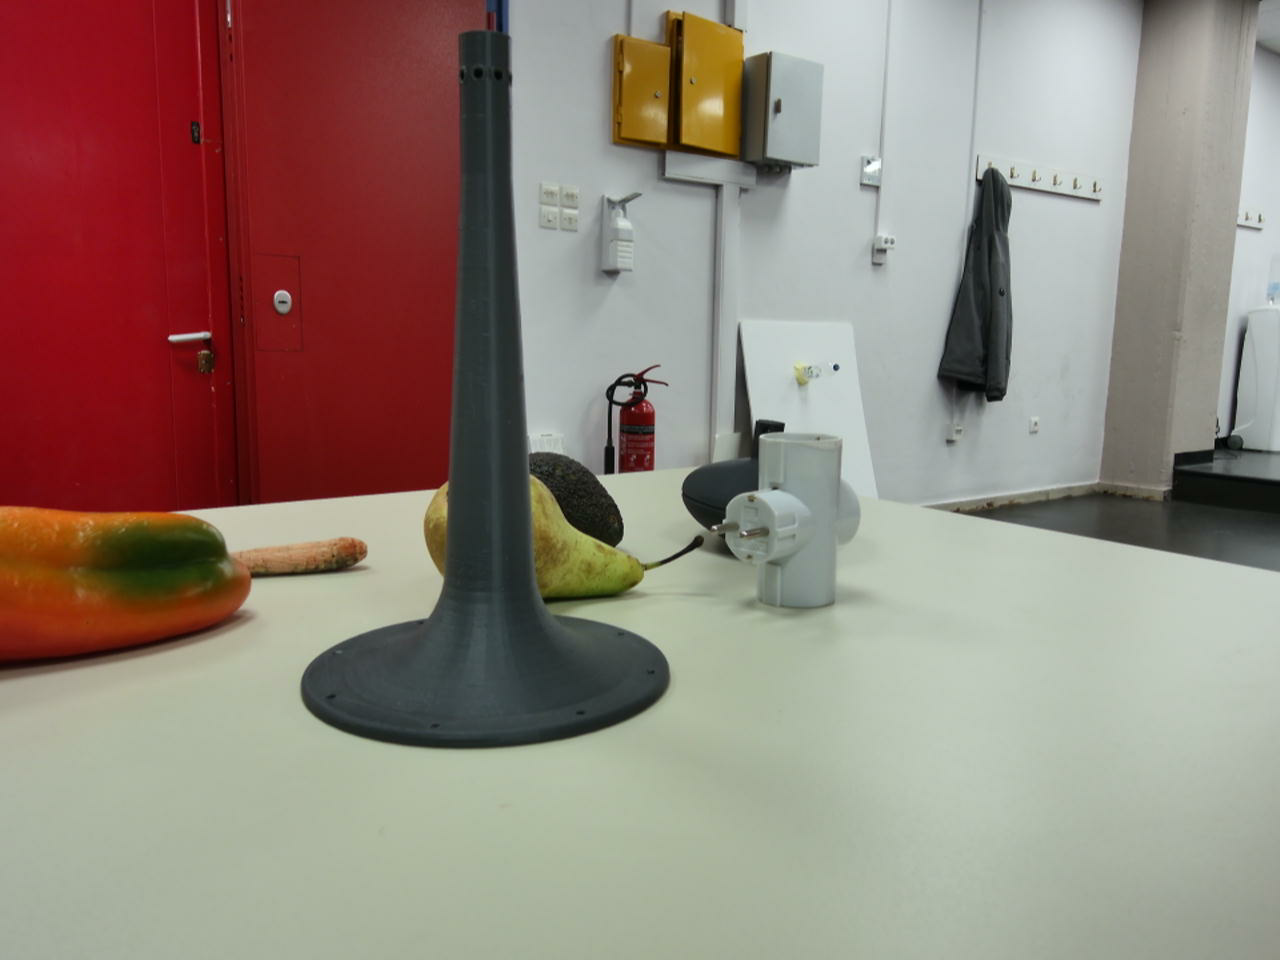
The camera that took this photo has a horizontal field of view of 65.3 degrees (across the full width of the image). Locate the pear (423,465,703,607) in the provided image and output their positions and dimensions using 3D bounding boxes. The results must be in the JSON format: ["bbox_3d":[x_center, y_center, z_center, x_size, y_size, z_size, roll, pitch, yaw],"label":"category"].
[{"bbox_3d":[-0.045,0.028,0.545,0.144,0.075,0.072,-5,7,-29],"label":"pear"}]
